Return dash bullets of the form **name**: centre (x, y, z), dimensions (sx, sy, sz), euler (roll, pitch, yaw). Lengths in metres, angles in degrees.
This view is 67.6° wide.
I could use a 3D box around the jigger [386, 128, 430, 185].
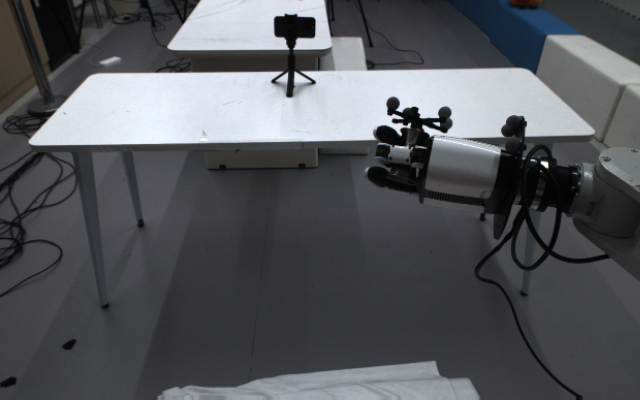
- **jigger**: centre (0.121, -0.059, 0.652), dimensions (0.043, 0.071, 0.043), euler (16, -7, 2)
